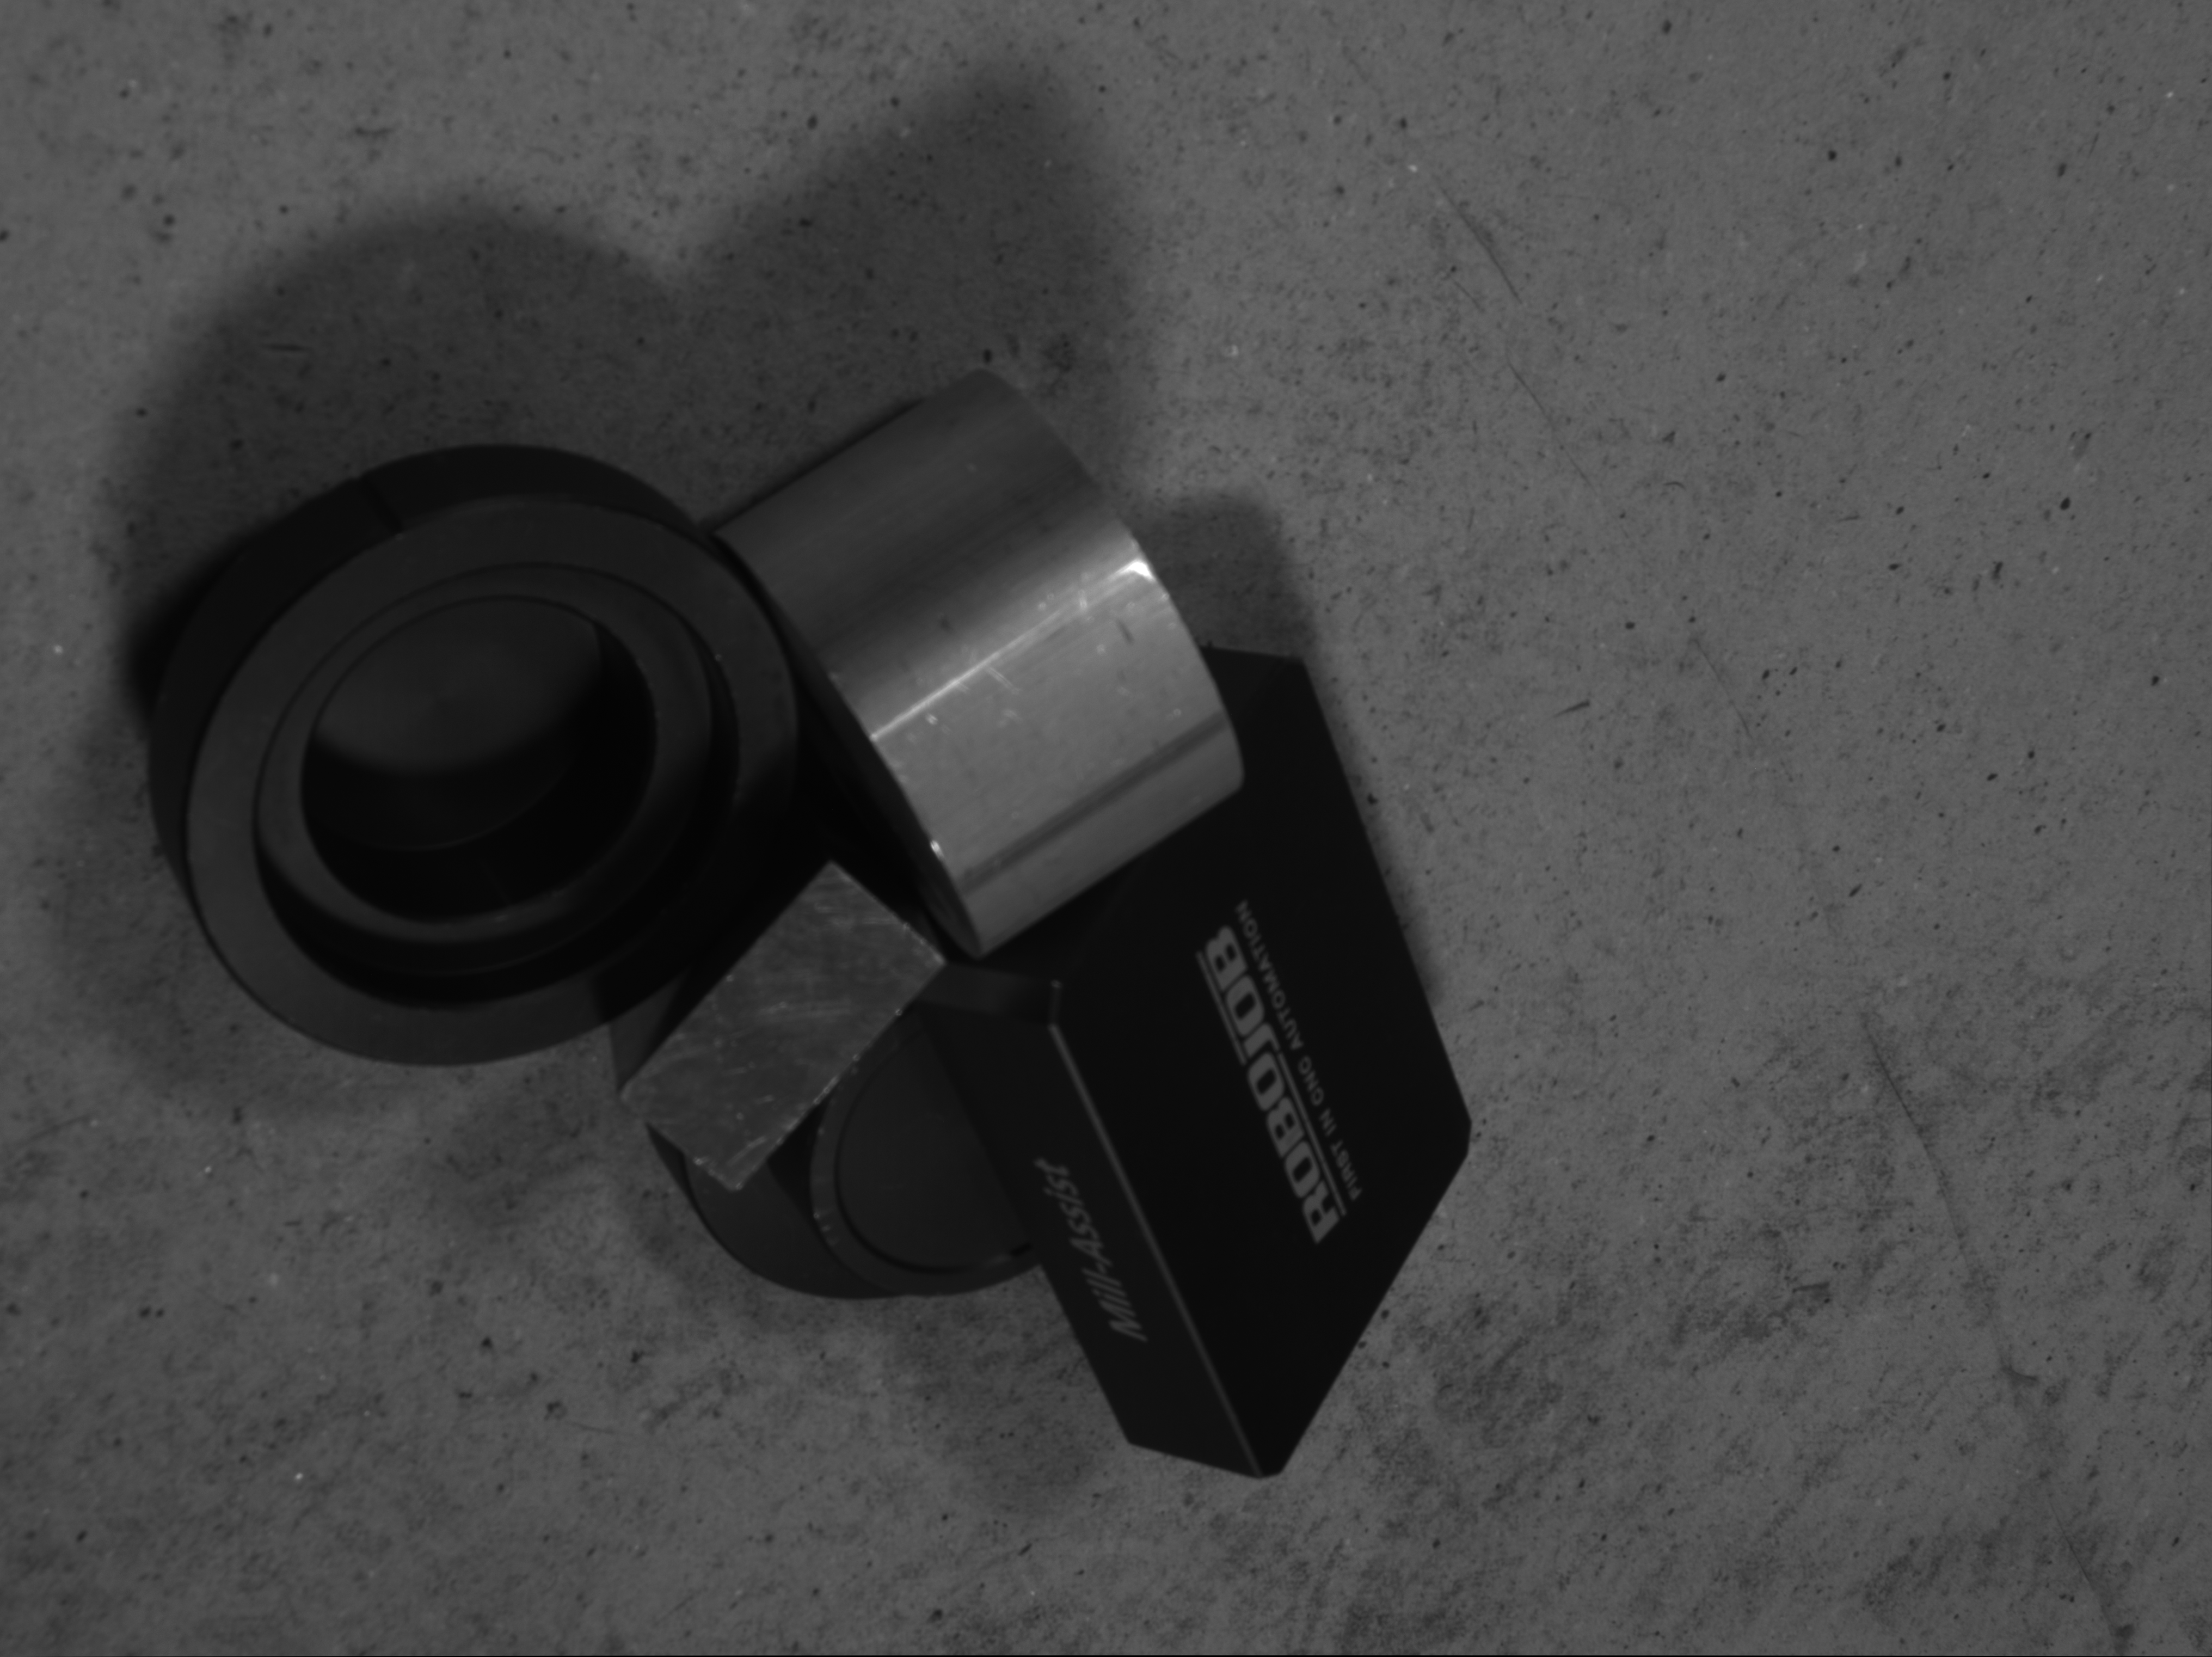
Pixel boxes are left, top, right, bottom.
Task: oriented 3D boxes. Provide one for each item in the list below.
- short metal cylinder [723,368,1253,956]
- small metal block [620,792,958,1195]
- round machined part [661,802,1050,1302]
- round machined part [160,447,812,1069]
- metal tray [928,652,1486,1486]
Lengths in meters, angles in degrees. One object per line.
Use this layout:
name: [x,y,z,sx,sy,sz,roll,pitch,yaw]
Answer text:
short metal cylinder: [-0.020,-0.026,0.588,0.050,0.080,0.080,-33,130,-9]
small metal block: [-0.053,0.026,0.596,0.025,0.050,0.050,41,93,-16]
round machined part: [-0.028,0.044,0.651,0.098,0.042,0.098,-15,125,-22]
round machined part: [-0.099,-0.015,0.573,0.098,0.042,0.098,-15,125,-22]
metal tray: [0.022,0.043,0.658,0.090,0.030,0.130,-55,138,-33]
